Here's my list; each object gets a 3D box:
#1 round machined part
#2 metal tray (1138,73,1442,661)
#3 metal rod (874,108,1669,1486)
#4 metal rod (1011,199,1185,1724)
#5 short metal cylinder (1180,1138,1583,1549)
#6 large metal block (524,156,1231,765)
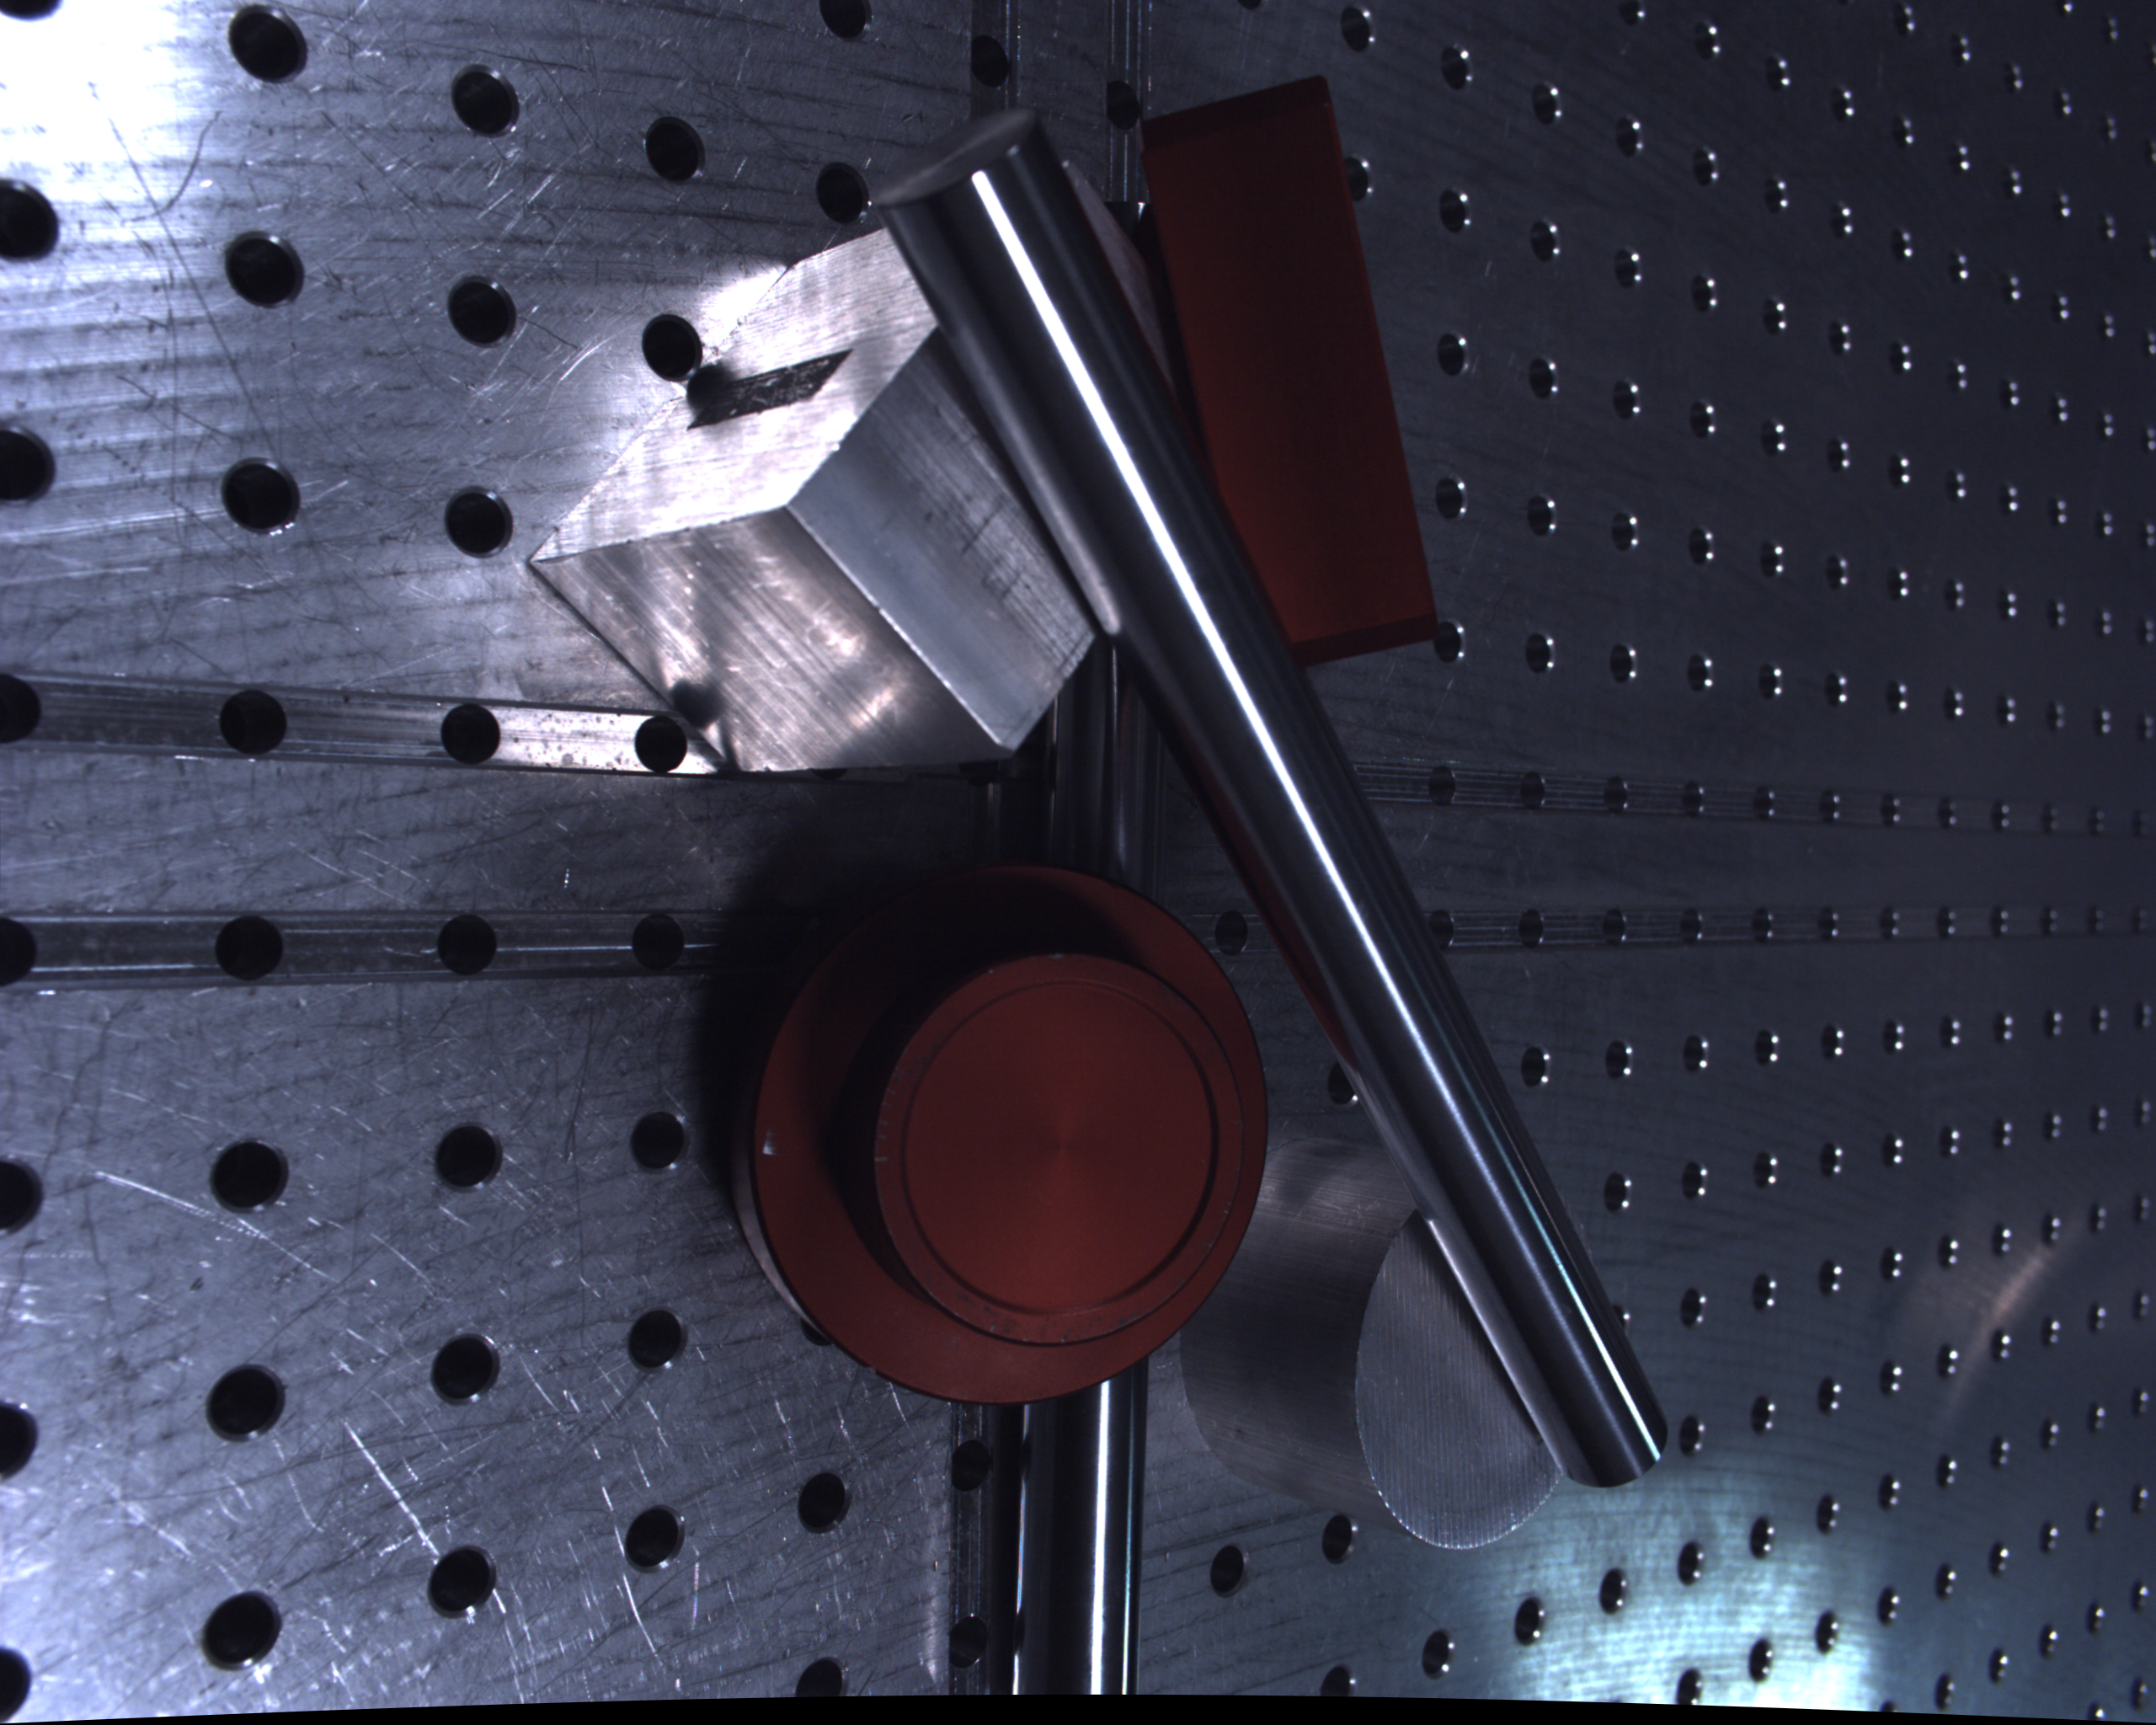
[{"bbox_3d":[-0.009,0.049,0.372,0.099,0.042,0.097,0,90,-23],"label":"round machined part"},{"bbox_3d":[0.041,-0.090,0.391,0.130,0.030,0.089,-63,140,-75],"label":"metal tray"},{"bbox_3d":[0.048,0.014,0.360,0.025,0.025,0.299,-51,128,-28],"label":"metal rod"},{"bbox_3d":[0.004,0.020,0.415,0.025,0.025,0.298,3,88,-40],"label":"metal rod"},{"bbox_3d":[0.069,0.102,0.454,0.081,0.050,0.079,0,90,-40],"label":"short metal cylinder"},{"bbox_3d":[-0.032,-0.064,0.349,0.050,0.080,0.080,49,61,-29],"label":"large metal block"}]
